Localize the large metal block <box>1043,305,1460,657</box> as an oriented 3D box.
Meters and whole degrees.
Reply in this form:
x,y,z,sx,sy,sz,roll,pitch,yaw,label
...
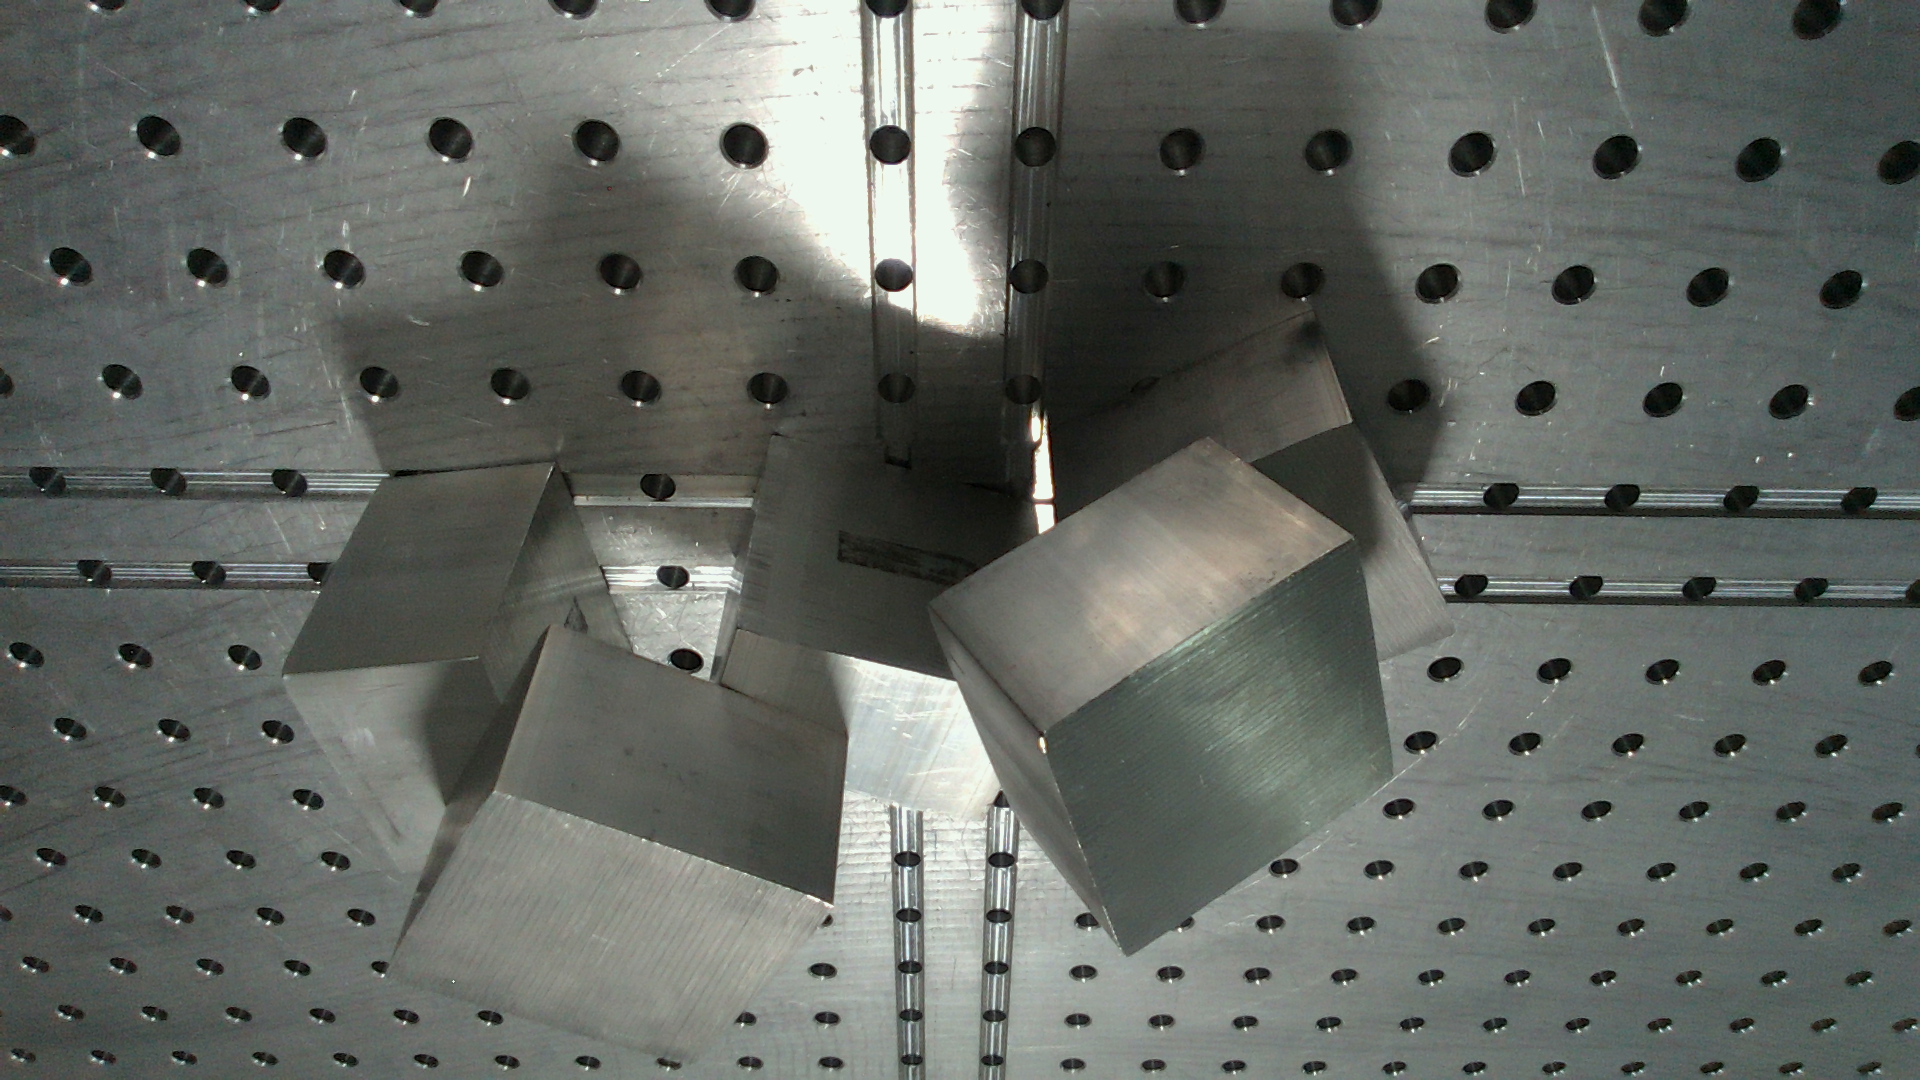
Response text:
x,y,z,sx,sy,sz,roll,pitch,yaw,label
0.078,-0.003,0.375,0.080,0.050,0.080,-24,126,19,large metal block

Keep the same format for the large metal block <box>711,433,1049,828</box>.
x,y,z,sx,sy,sz,roll,pitch,yaw,label
-0.023,0.024,0.377,0.080,0.080,0.050,14,129,-12,large metal block

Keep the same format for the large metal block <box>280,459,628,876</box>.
x,y,z,sx,sy,sz,roll,pitch,yaw,label
-0.135,0.035,0.386,0.050,0.080,0.080,-5,130,4,large metal block

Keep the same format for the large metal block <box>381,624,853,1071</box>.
x,y,z,sx,sy,sz,roll,pitch,yaw,label
-0.082,0.078,0.336,0.080,0.050,0.080,25,126,-19,large metal block

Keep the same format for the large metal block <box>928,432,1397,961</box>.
x,y,z,sx,sy,sz,roll,pitch,yaw,label
0.049,0.036,0.318,0.080,0.050,0.080,-31,130,-12,large metal block
